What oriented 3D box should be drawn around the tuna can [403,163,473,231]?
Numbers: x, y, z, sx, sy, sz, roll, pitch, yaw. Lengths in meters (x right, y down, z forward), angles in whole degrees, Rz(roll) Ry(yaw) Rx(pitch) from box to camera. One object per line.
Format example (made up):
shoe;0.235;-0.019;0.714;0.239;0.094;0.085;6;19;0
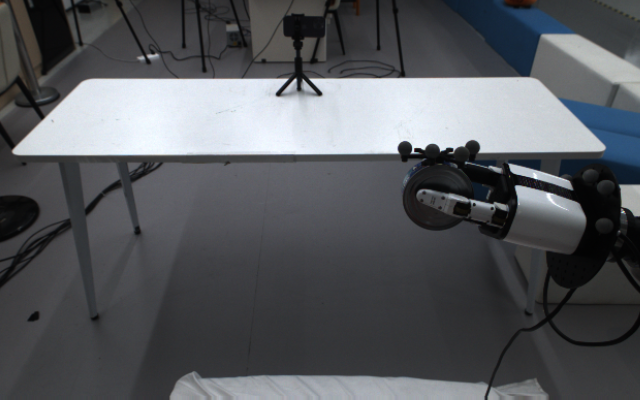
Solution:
tuna can;0.146;-0.008;0.603;0.085;0.085;0.034;4;17;3
